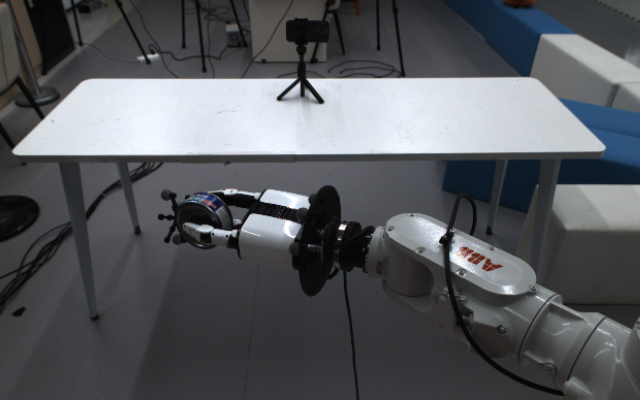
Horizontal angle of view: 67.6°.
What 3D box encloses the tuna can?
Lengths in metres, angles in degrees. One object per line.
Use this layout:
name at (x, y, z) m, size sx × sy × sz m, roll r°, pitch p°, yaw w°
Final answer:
tuna can at (-0.177, 0.034, 0.741) m, size 0.085 × 0.085 × 0.034 m, roll 12°, pitch 29°, yaw 14°
